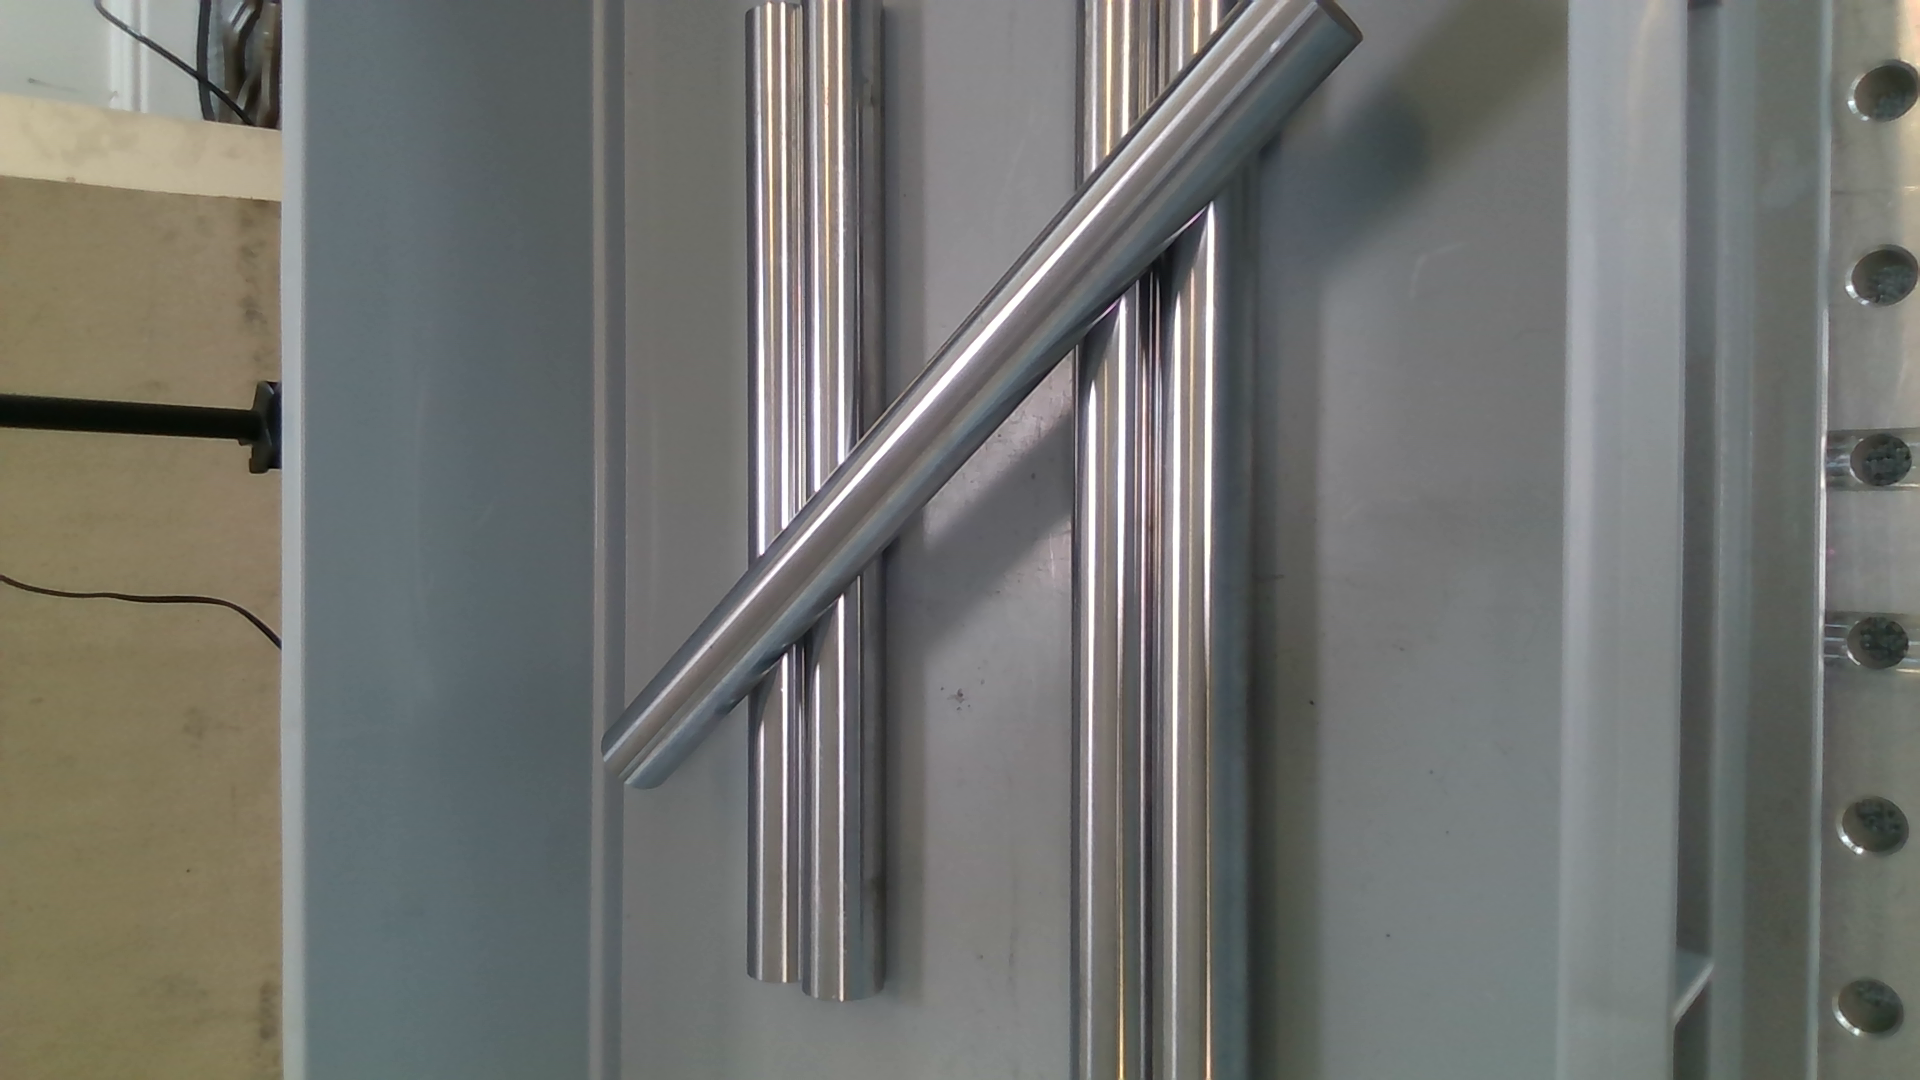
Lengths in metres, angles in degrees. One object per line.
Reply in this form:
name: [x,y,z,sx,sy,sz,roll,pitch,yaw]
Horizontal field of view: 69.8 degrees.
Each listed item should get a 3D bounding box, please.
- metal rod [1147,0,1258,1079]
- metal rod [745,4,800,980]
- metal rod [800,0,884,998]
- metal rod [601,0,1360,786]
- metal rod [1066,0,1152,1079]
metal rod: [0.060,-0.009,0.338,0.025,0.025,0.300,1,91,40]
metal rod: [-0.055,-0.014,0.435,0.025,0.025,0.300,0,91,40]
metal rod: [-0.036,-0.014,0.419,0.025,0.025,0.300,0,91,40]
metal rod: [-0.014,-0.023,0.369,0.301,0.025,0.025,-45,63,31]
metal rod: [0.041,-0.008,0.355,0.025,0.025,0.300,1,91,40]
